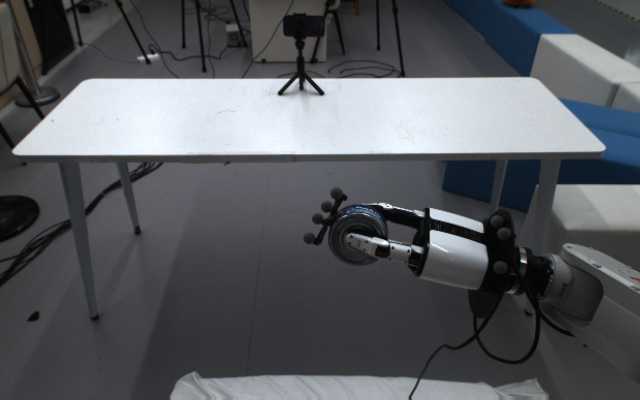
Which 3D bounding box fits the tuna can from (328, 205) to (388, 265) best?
[{"bbox_3d":[0.058,0.049,0.696,0.085,0.085,0.034,3,21,1],"label":"tuna can"}]
